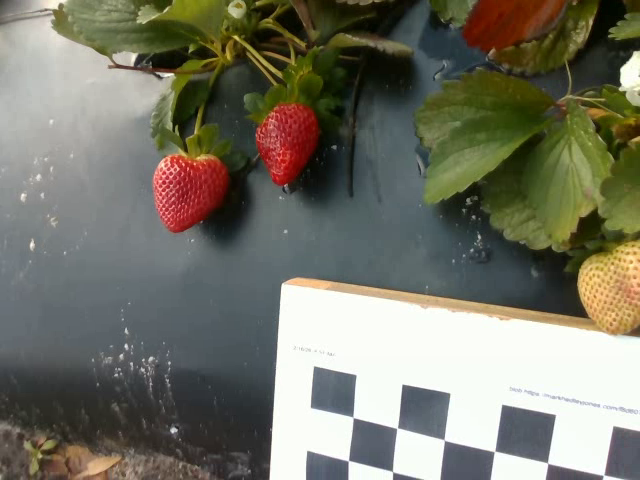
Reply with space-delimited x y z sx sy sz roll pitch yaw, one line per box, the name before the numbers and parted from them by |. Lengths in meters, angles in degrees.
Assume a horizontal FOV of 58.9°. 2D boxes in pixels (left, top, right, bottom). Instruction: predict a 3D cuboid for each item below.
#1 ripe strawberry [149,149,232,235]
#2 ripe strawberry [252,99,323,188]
ripe strawberry | -0.080 -0.028 0.339 0.050 0.061 0.045 -4 -32 24
ripe strawberry | -0.022 -0.056 0.322 0.042 0.053 0.034 -10 -30 24
